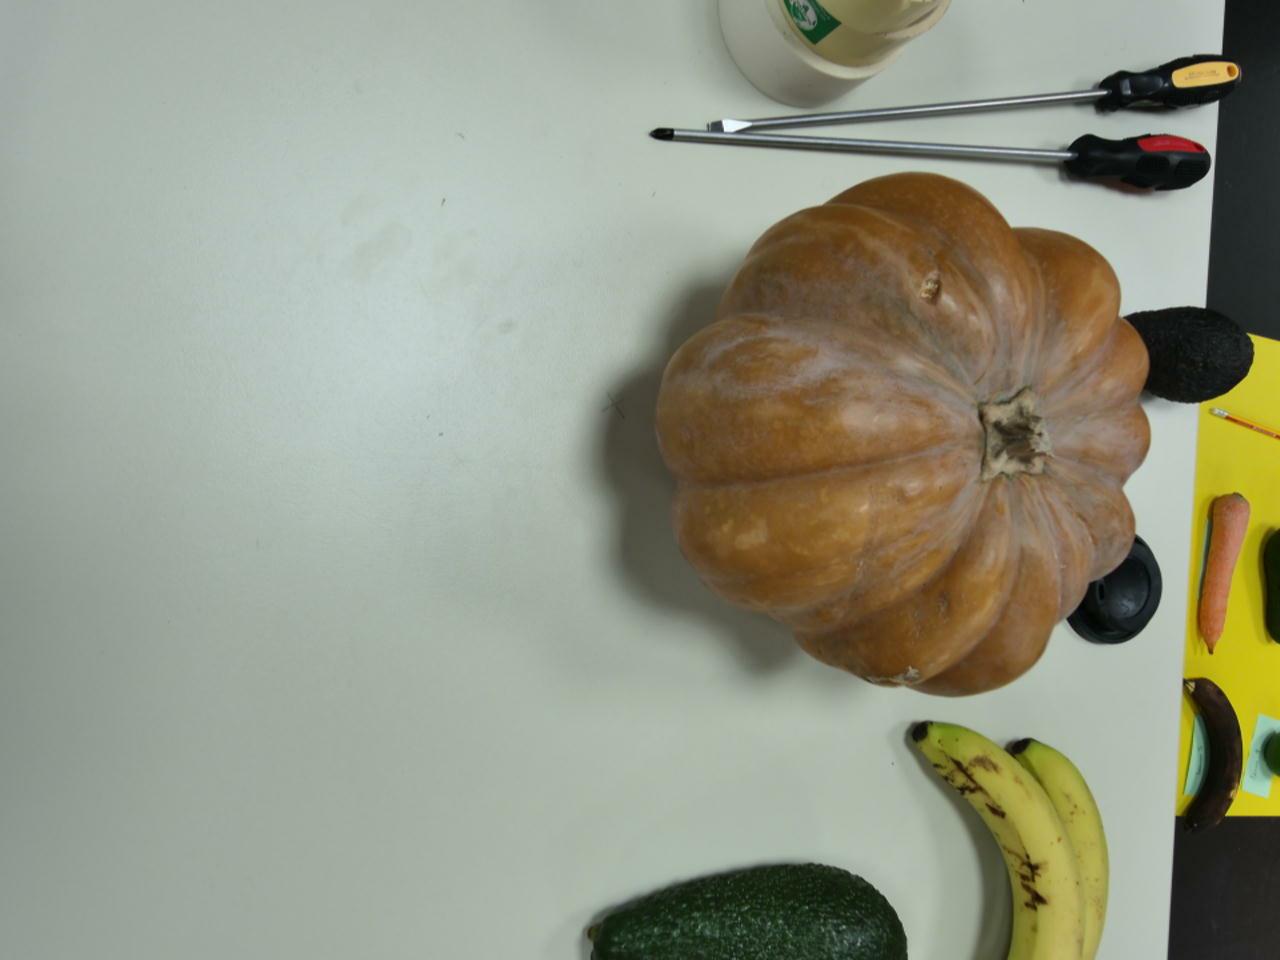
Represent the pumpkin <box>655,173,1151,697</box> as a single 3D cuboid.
[{"bbox_3d":[0.140,-0.023,0.528,0.277,0.181,0.277,0,91,-23],"label":"pumpkin"}]
